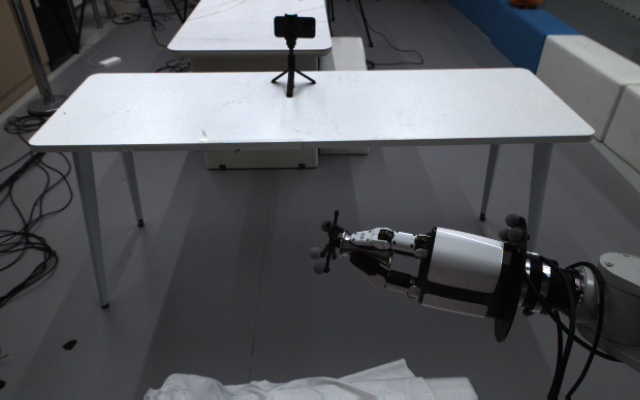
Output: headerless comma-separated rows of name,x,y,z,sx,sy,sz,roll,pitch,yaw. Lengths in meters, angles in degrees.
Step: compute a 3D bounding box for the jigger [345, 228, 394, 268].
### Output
jigger,0.071,0.061,0.658,0.071,0.043,0.043,9,35,16
